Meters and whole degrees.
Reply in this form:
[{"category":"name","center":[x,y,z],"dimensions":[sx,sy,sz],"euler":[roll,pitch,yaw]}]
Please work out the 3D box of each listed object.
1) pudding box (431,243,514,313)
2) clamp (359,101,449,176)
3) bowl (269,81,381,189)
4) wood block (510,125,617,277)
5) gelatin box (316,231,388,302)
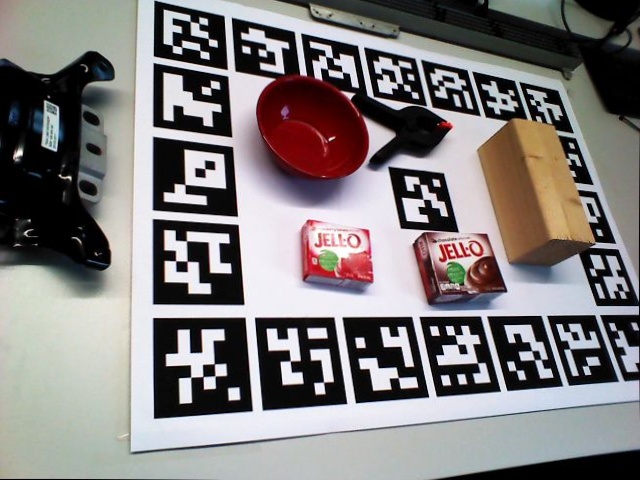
[{"category":"pudding box","center":[0.212,0.052,0.702],"dimensions":[0.113,0.039,0.089],"euler":[1,70,-21]},{"category":"clamp","center":[0.137,-0.154,0.774],"dimensions":[0.164,0.037,0.121],"euler":[-8,70,-29]},{"category":"bowl","center":[-0.002,-0.127,0.686],"dimensions":[0.161,0.055,0.161],"euler":[9,66,-22]},{"category":"wood block","center":[0.355,-0.058,0.785],"dimensions":[0.089,0.091,0.205],"euler":[6,65,-23]},{"category":"gelatin box","center":[0.039,0.032,0.636],"dimensions":[0.089,0.030,0.073],"euler":[11,65,-20]}]
